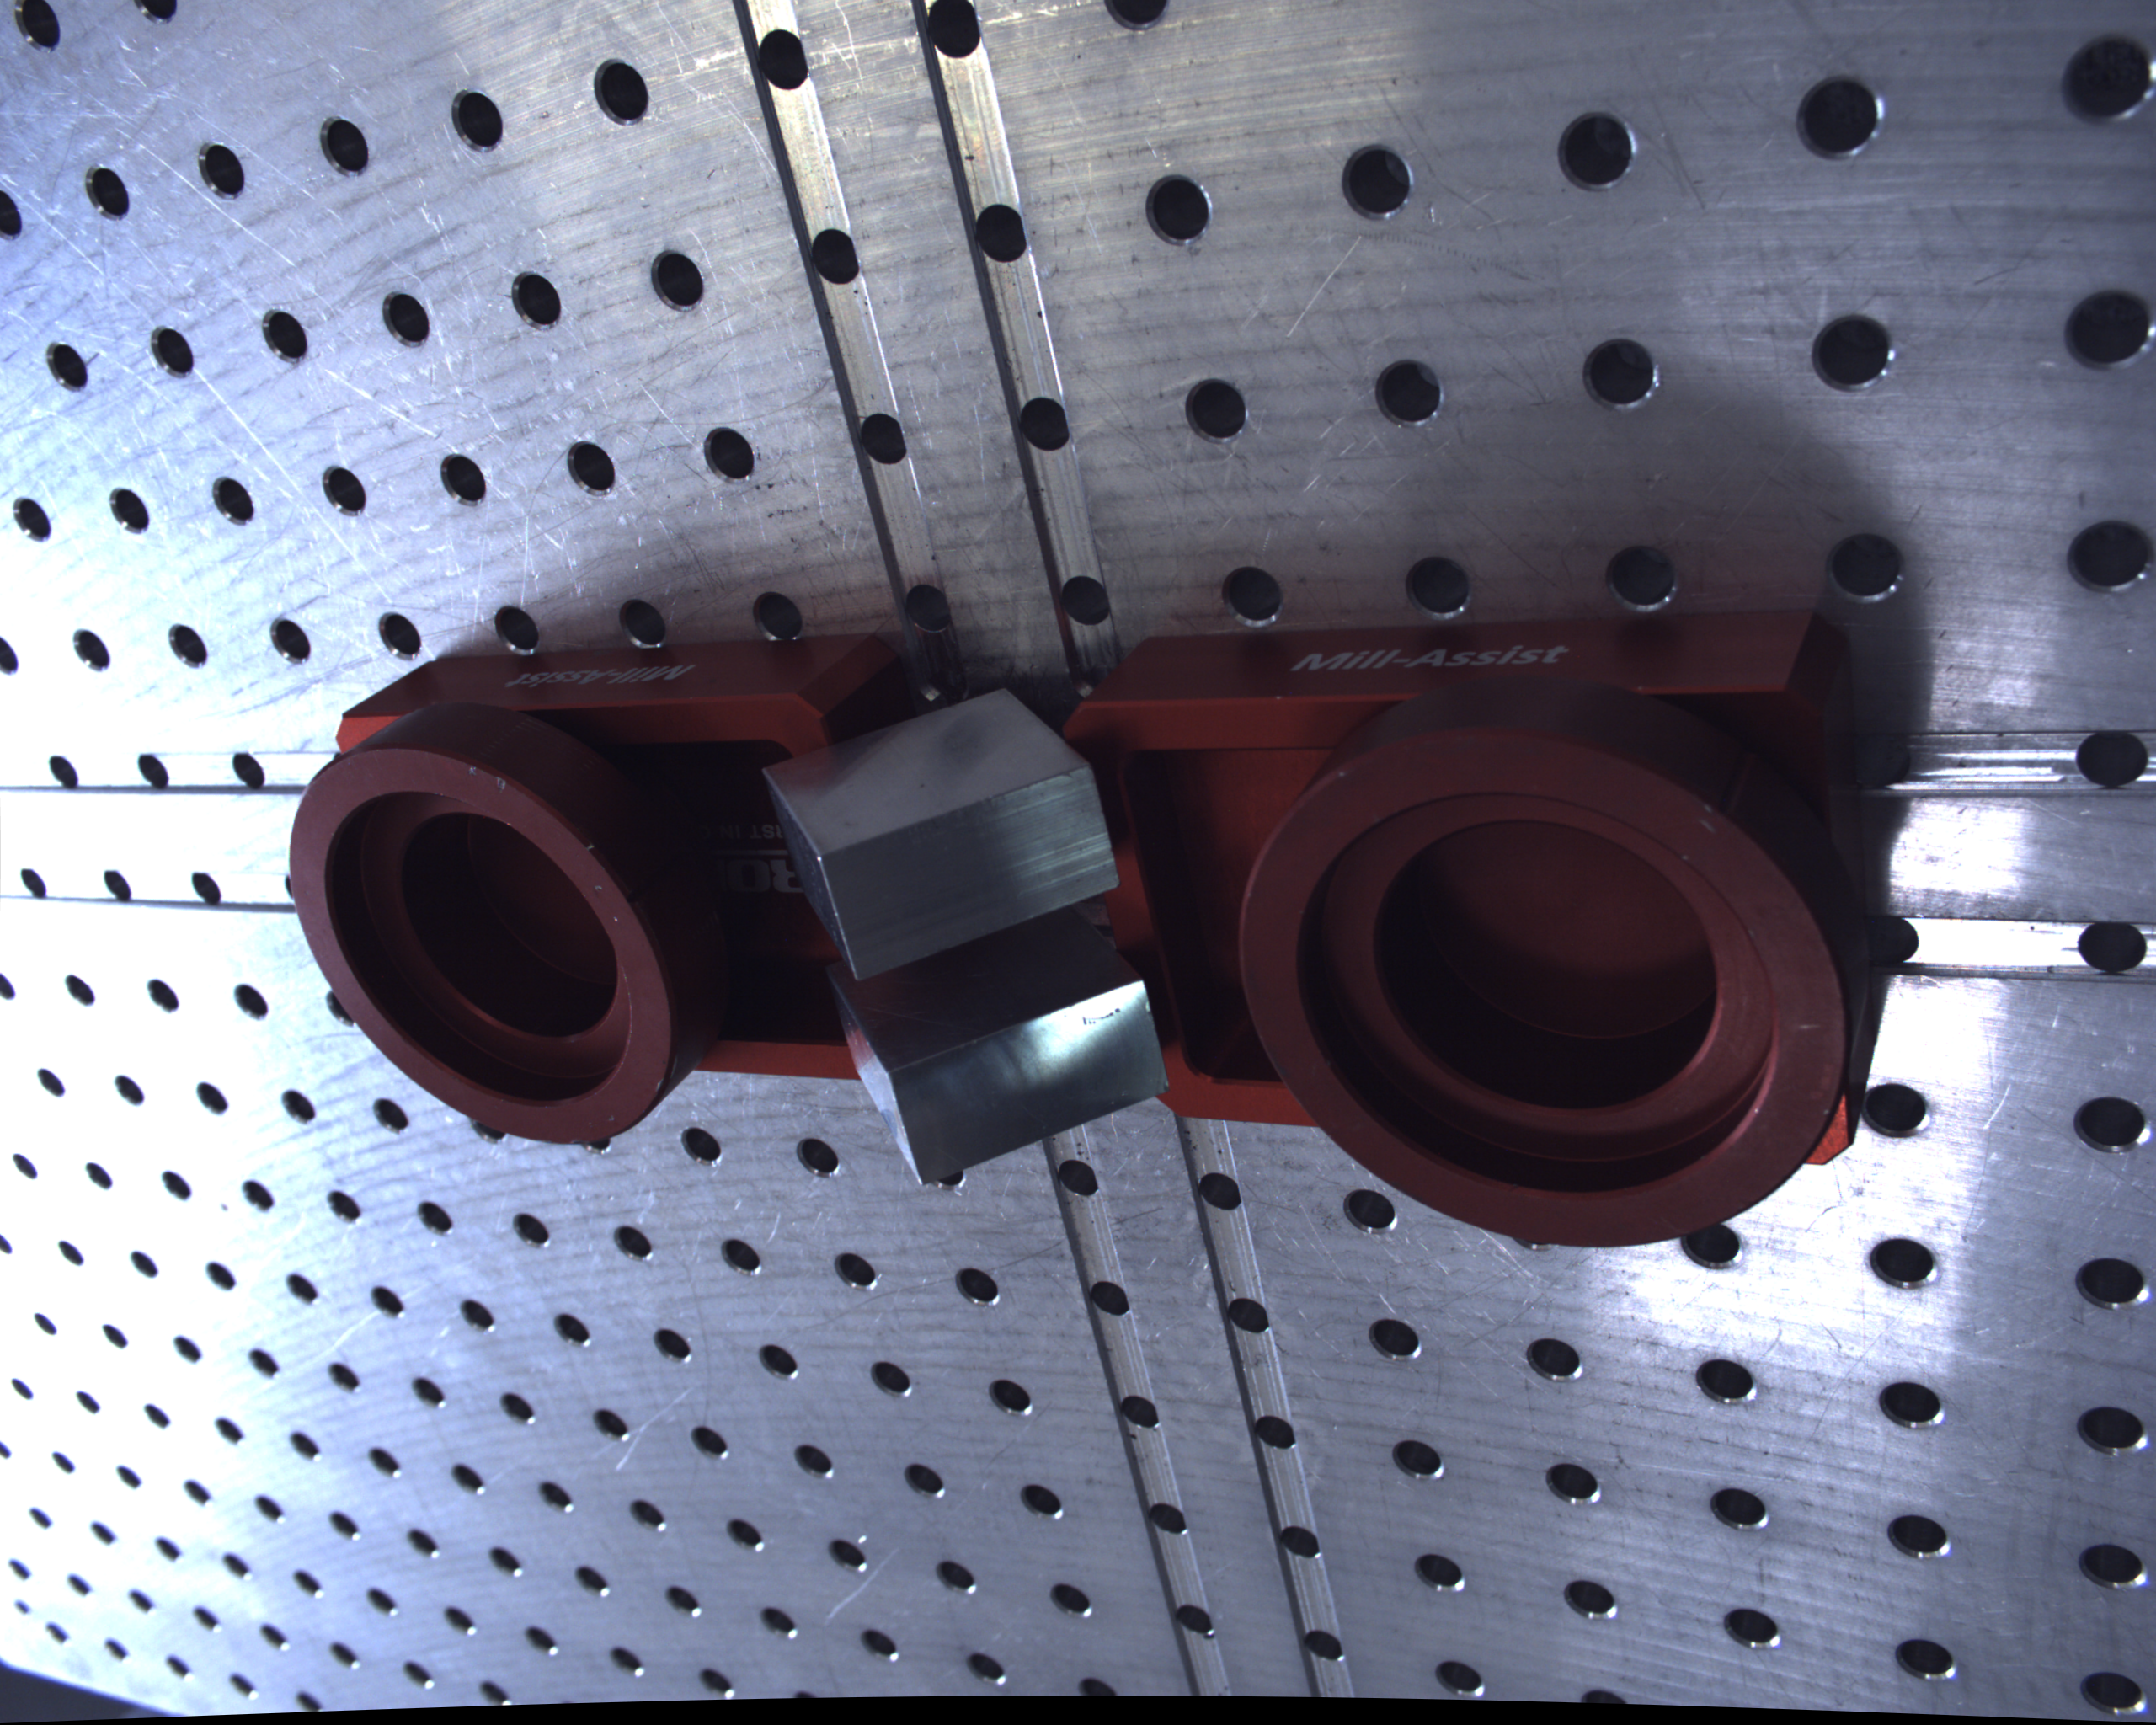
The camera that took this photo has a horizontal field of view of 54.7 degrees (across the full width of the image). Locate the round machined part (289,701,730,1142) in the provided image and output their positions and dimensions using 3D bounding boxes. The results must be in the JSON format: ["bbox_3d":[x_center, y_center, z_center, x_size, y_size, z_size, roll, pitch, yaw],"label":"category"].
[{"bbox_3d":[-0.117,0.009,0.451,0.098,0.042,0.097,13,124,21],"label":"round machined part"}]

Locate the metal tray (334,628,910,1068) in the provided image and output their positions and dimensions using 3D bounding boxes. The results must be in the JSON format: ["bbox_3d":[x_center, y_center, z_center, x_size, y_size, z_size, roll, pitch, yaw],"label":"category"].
[{"bbox_3d":[-0.090,-0.001,0.456,0.130,0.030,0.089,-1,120,28],"label":"metal tray"}]

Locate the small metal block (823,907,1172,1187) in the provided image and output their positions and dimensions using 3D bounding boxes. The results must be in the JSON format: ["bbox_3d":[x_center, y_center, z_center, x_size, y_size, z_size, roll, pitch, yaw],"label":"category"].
[{"bbox_3d":[-0.017,0.032,0.404,0.050,0.050,0.025,-135,28,-61],"label":"small metal block"}]

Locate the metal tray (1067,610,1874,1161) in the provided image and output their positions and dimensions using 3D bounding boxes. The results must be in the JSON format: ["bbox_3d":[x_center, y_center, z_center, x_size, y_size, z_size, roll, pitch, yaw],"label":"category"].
[{"bbox_3d":[0.070,0.004,0.374,0.130,0.030,0.089,1,119,27],"label":"metal tray"}]

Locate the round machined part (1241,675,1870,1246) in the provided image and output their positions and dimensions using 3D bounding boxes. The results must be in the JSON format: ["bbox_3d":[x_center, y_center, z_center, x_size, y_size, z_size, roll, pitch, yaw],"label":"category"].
[{"bbox_3d":[0.081,0.013,0.349,0.098,0.042,0.097,13,124,21],"label":"round machined part"}]

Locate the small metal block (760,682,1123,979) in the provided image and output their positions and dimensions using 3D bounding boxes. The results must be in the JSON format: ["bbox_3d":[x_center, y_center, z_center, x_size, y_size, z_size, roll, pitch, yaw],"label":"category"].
[{"bbox_3d":[-0.026,-0.008,0.386,0.050,0.050,0.025,-135,28,-61],"label":"small metal block"}]
